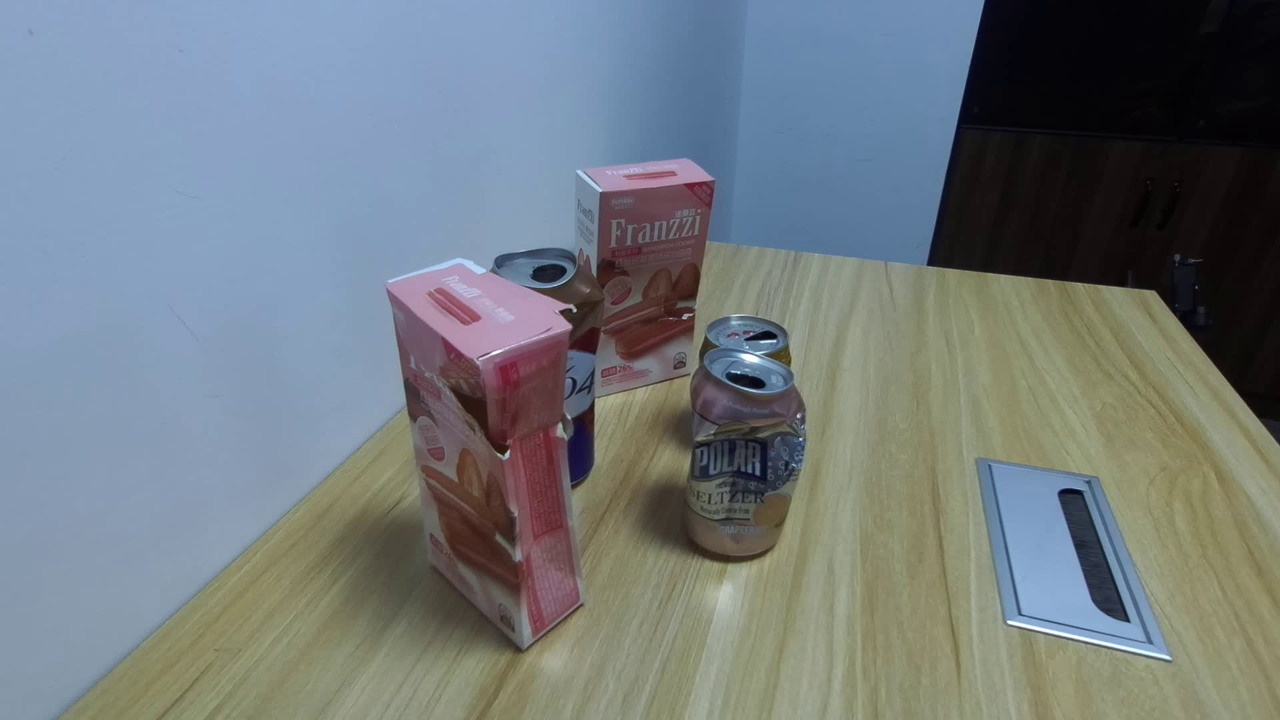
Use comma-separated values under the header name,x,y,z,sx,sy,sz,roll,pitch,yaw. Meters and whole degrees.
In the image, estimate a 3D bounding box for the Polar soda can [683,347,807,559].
name,x,y,z,sx,sy,sz,roll,pitch,yaw
Polar soda can,0.064,0.057,0.433,0.071,0.122,0.066,4,24,6

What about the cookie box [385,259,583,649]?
name,x,y,z,sx,sy,sz,roll,pitch,yaw
cookie box,-0.077,0.052,0.374,0.059,0.186,0.104,-25,39,-36

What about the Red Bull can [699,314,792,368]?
name,x,y,z,sx,sy,sz,roll,pitch,yaw
Red Bull can,0.075,0.020,0.520,0.069,0.092,0.069,1,27,0

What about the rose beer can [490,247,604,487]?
name,x,y,z,sx,sy,sz,roll,pitch,yaw
rose beer can,-0.065,0.008,0.477,0.068,0.162,0.074,18,37,28

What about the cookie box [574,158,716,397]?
name,x,y,z,sx,sy,sz,roll,pitch,yaw
cookie box,0.004,-0.063,0.577,0.105,0.187,0.048,-12,38,-22
